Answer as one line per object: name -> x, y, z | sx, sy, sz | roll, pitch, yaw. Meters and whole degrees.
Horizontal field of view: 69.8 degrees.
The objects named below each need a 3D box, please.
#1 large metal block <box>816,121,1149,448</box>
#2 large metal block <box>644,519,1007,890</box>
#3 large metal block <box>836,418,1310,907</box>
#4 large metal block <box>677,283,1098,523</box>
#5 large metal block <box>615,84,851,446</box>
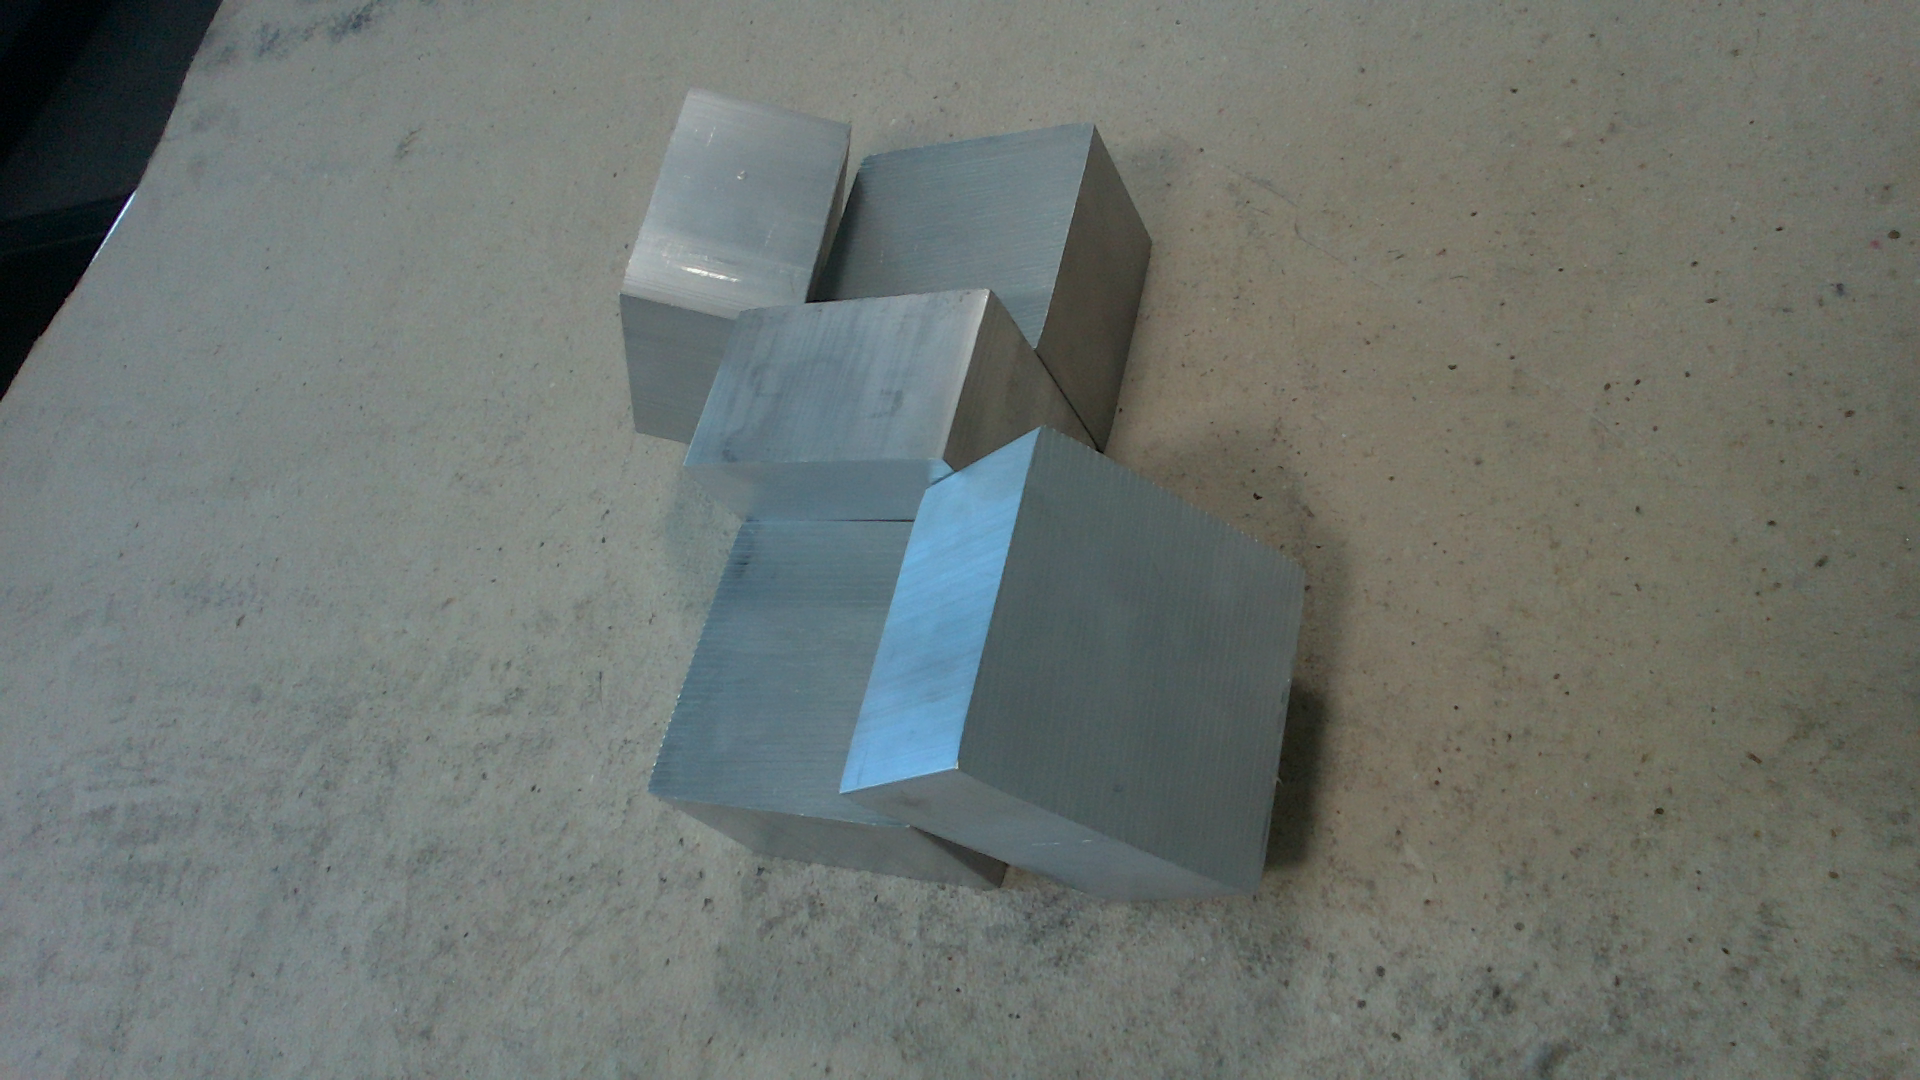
large metal block -> 0.005, -0.074, 0.418 | 0.080, 0.050, 0.080 | 0, 61, 29
large metal block -> -0.025, 0.042, 0.366 | 0.080, 0.050, 0.080 | 1, 63, 29
large metal block -> 0.028, 0.031, 0.314 | 0.050, 0.080, 0.080 | -25, 44, 55
large metal block -> -0.016, -0.023, 0.381 | 0.080, 0.080, 0.050 | 0, 62, 29
large metal block -> -0.070, -0.081, 0.437 | 0.050, 0.080, 0.080 | 13, 63, -3
